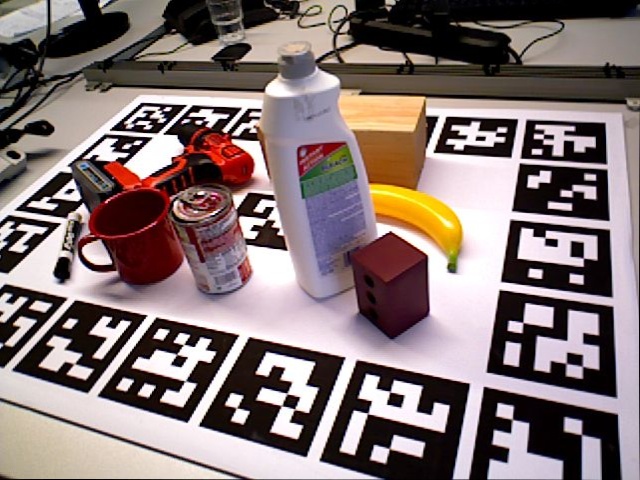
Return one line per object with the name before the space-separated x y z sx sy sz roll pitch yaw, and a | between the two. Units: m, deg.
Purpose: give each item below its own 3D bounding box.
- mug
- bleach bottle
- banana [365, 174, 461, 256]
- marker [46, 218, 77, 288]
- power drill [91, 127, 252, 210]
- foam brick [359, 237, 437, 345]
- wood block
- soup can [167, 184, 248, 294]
mug | -0.216 0.001 0.615 0.116 0.083 0.093 -26 45 -13
bleach bottle | 0.003 -0.060 0.504 0.100 0.255 0.068 -33 45 -26
banana | 0.082 -0.042 0.628 0.198 0.039 0.073 21 63 29
marker | -0.321 0.016 0.676 0.019 0.020 0.119 -15 41 -2
power drill | -0.211 -0.084 0.742 0.183 0.058 0.184 -34 49 -27
foam brick | 0.073 0.046 0.503 0.050 0.079 0.053 -29 41 -24
wood block | 0.032 -0.125 0.701 0.207 0.092 0.088 6 44 19
soup can | -0.115 -0.002 0.571 0.068 0.104 0.067 -4 37 2
